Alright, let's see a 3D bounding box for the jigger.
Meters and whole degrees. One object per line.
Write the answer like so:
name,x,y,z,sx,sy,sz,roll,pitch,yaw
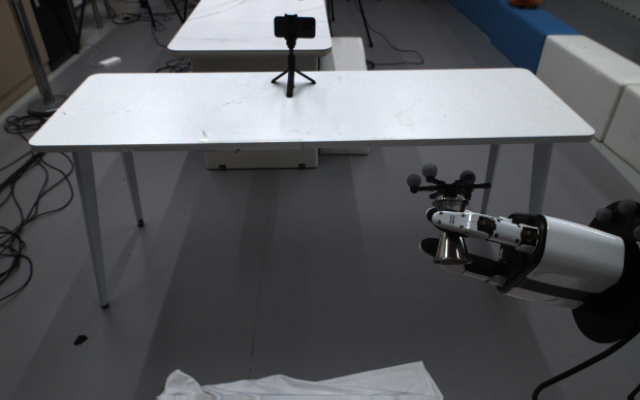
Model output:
jigger,0.145,0.034,0.536,0.043,0.043,0.071,3,76,1
